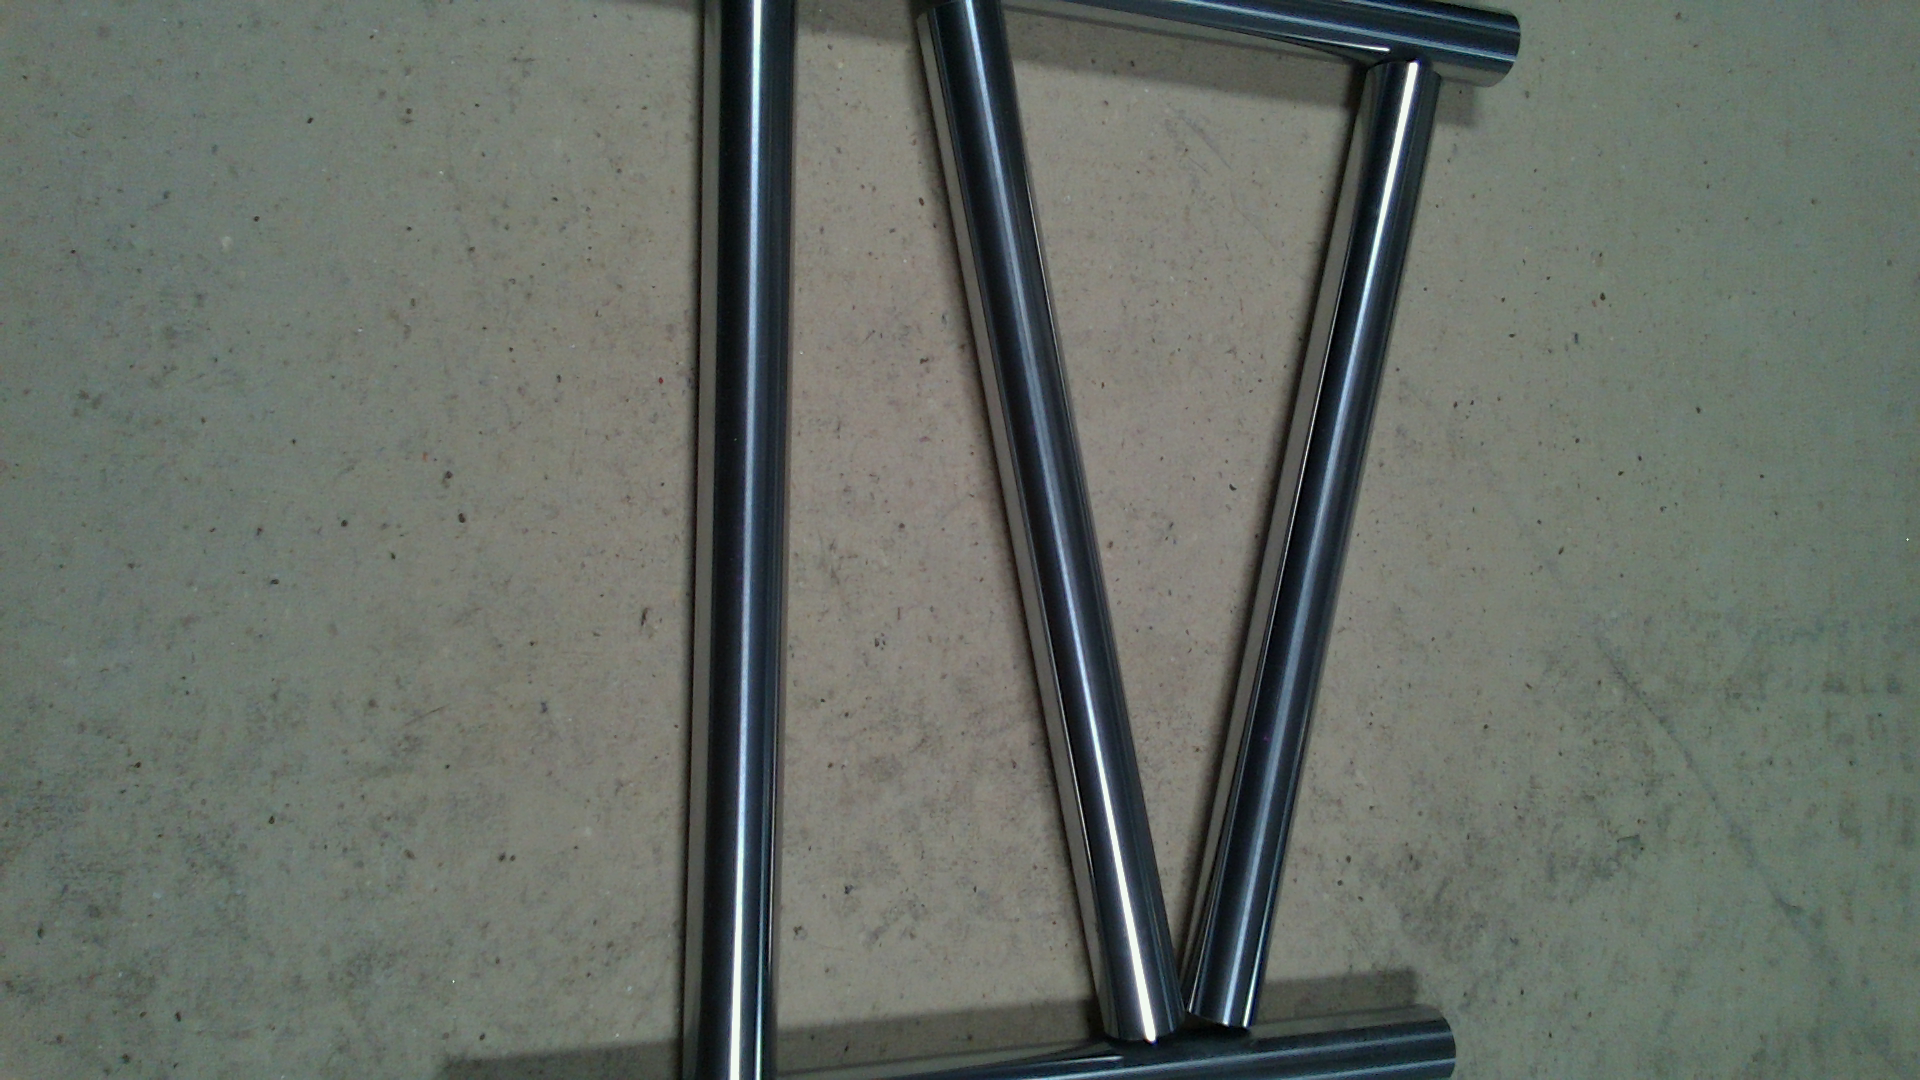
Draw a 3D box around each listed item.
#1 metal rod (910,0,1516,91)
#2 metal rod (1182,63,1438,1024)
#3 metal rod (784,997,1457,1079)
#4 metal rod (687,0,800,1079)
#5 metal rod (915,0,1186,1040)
[{"bbox_3d":[0.035,-0.165,0.406,0.301,0.025,0.025,1,90,-20],"label":"metal rod"},{"bbox_3d":[0.110,-0.002,0.433,0.025,0.025,0.300,14,85,-19],"label":"metal rod"},{"bbox_3d":[0.012,0.160,0.397,0.301,0.025,0.025,1,90,-20],"label":"metal rod"},{"bbox_3d":[-0.058,-0.005,0.371,0.025,0.025,0.300,1,90,-20],"label":"metal rod"},{"bbox_3d":[0.027,-0.003,0.403,0.025,0.025,0.300,-12,94,-19],"label":"metal rod"}]
